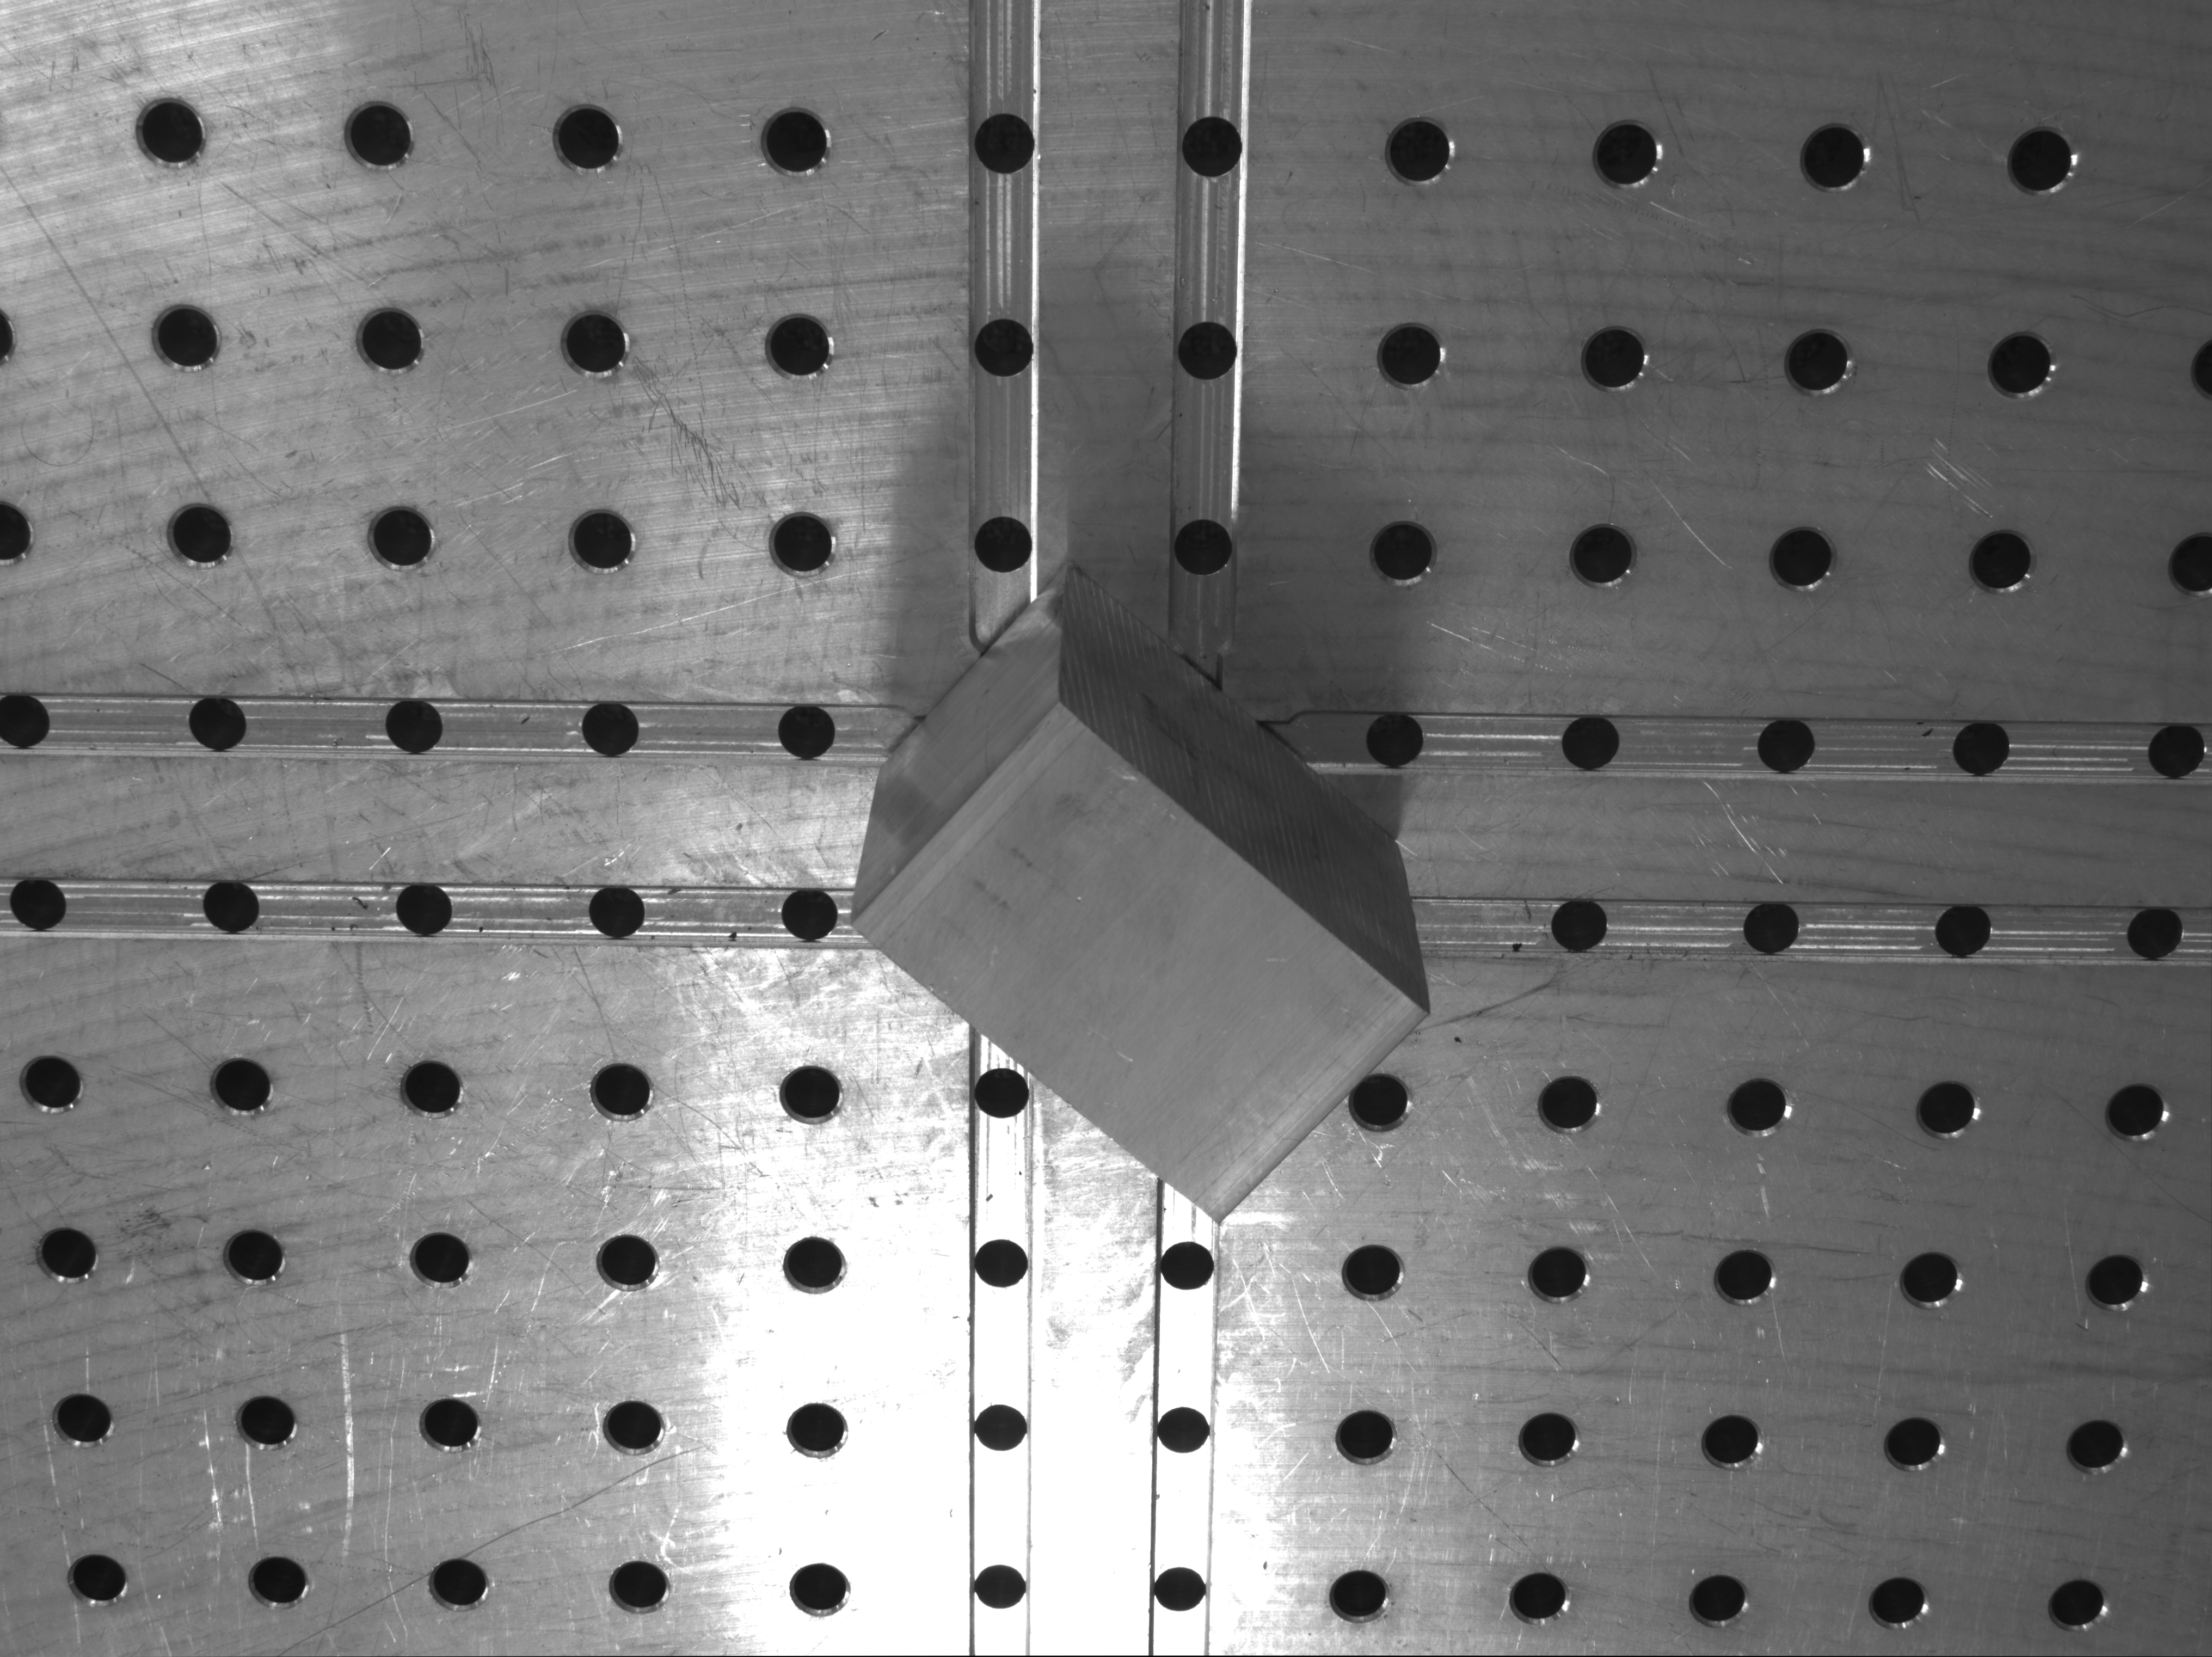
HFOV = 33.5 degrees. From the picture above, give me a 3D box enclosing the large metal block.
[{"bbox_3d":[0.006,0.009,0.620,0.080,0.080,0.050,40,106,-13],"label":"large metal block"}]
